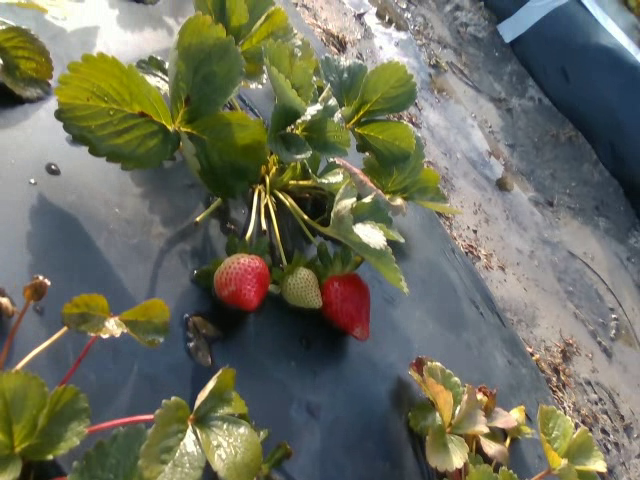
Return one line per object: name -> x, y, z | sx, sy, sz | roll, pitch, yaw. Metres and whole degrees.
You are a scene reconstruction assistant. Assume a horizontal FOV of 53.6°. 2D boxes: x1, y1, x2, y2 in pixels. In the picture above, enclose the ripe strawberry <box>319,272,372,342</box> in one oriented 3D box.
ripe strawberry -> 0.025, 0.054, 0.492 | 0.048, 0.065, 0.050 | -16, -21, -1
